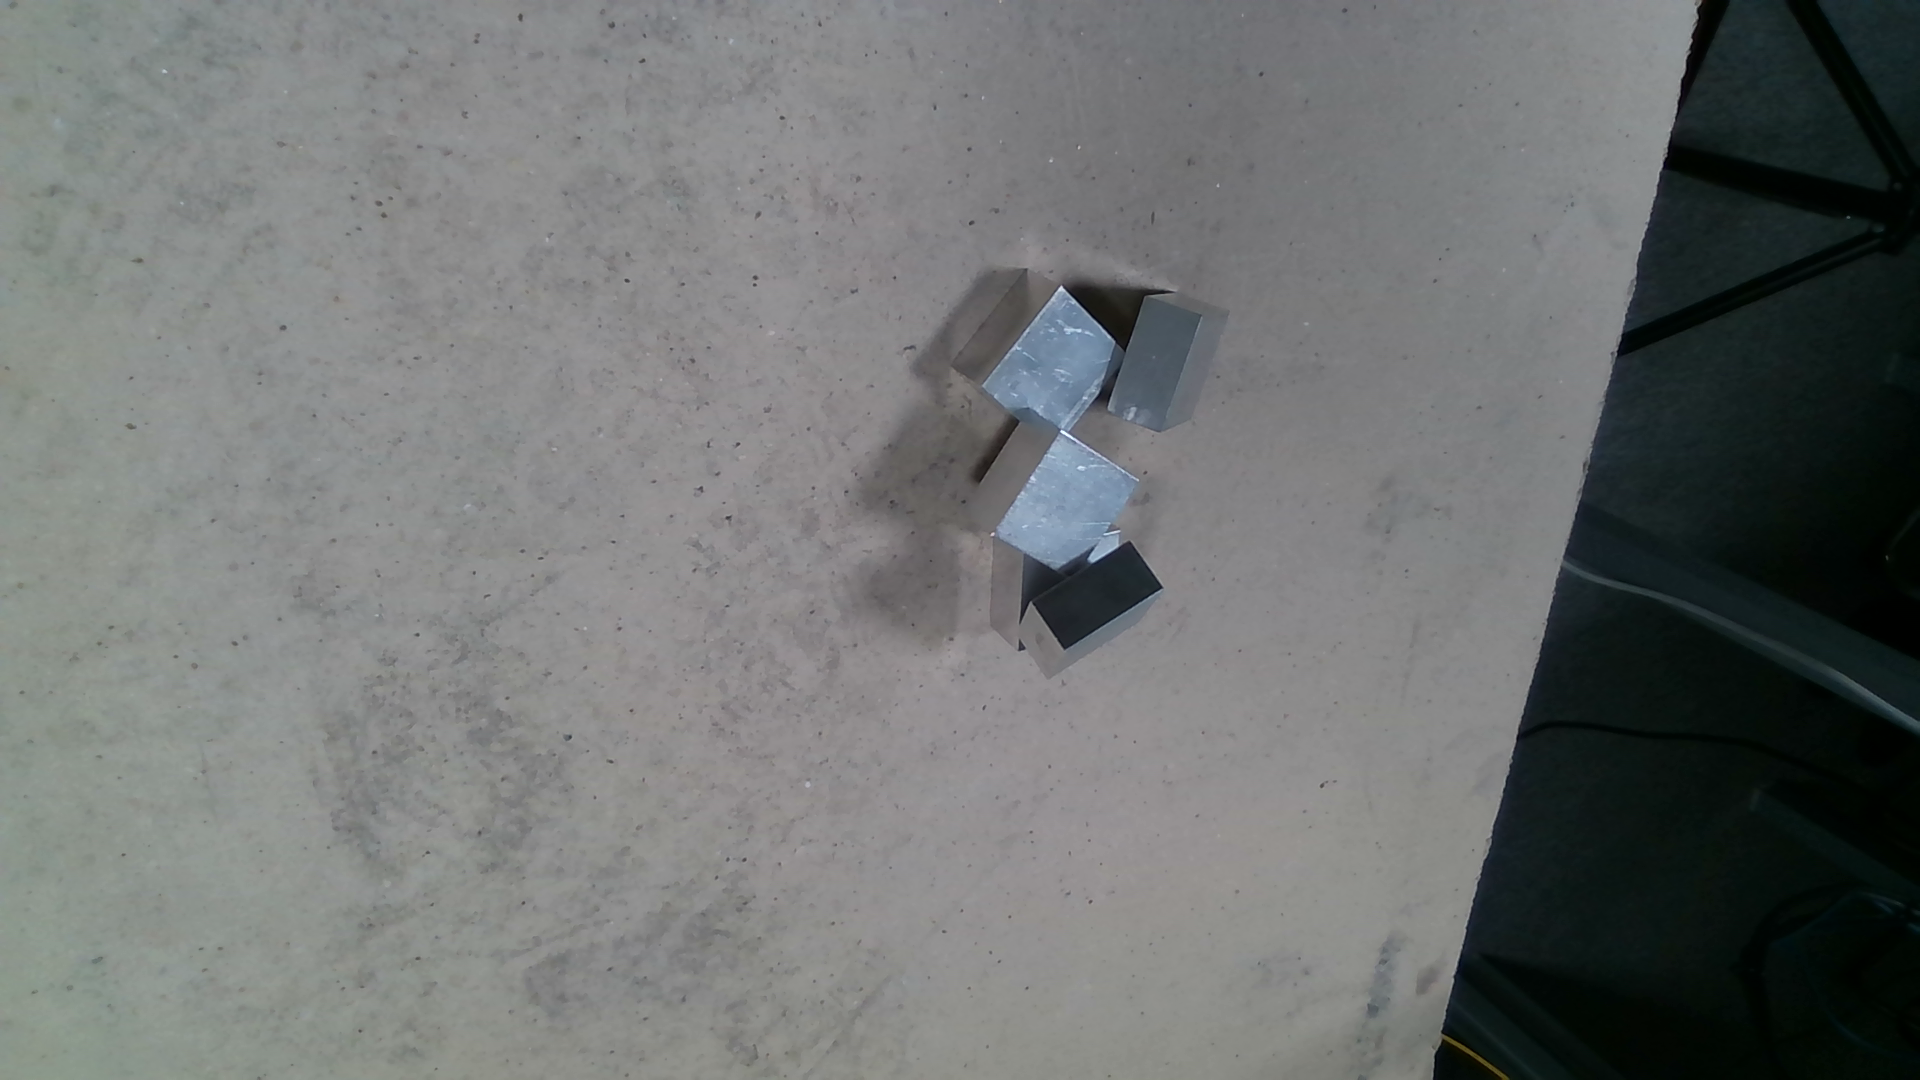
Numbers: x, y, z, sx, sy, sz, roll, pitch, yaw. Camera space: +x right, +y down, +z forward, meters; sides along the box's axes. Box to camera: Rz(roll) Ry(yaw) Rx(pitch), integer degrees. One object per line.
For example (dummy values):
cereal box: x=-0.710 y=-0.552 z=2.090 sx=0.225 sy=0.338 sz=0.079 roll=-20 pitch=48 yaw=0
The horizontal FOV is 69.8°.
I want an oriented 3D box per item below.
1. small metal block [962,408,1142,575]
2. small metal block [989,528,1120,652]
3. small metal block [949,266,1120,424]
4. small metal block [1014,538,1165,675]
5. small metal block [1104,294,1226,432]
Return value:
small metal block: x=0.038 y=-0.018 z=0.560 sx=0.050 sy=0.025 sz=0.050 roll=27 pitch=99 yaw=-38
small metal block: x=0.042 y=0.017 z=0.616 sx=0.050 sy=0.025 sz=0.050 roll=-13 pitch=121 yaw=-26
small metal block: x=0.033 y=-0.074 z=0.560 sx=0.050 sy=0.025 sz=0.050 roll=-51 pitch=129 yaw=2
small metal block: x=0.054 y=0.030 z=0.582 sx=0.050 sy=0.025 sz=0.050 roll=-31 pitch=167 yaw=-14
small metal block: x=0.087 y=-0.076 z=0.578 sx=0.050 sy=0.025 sz=0.050 roll=-27 pitch=137 yaw=-64
